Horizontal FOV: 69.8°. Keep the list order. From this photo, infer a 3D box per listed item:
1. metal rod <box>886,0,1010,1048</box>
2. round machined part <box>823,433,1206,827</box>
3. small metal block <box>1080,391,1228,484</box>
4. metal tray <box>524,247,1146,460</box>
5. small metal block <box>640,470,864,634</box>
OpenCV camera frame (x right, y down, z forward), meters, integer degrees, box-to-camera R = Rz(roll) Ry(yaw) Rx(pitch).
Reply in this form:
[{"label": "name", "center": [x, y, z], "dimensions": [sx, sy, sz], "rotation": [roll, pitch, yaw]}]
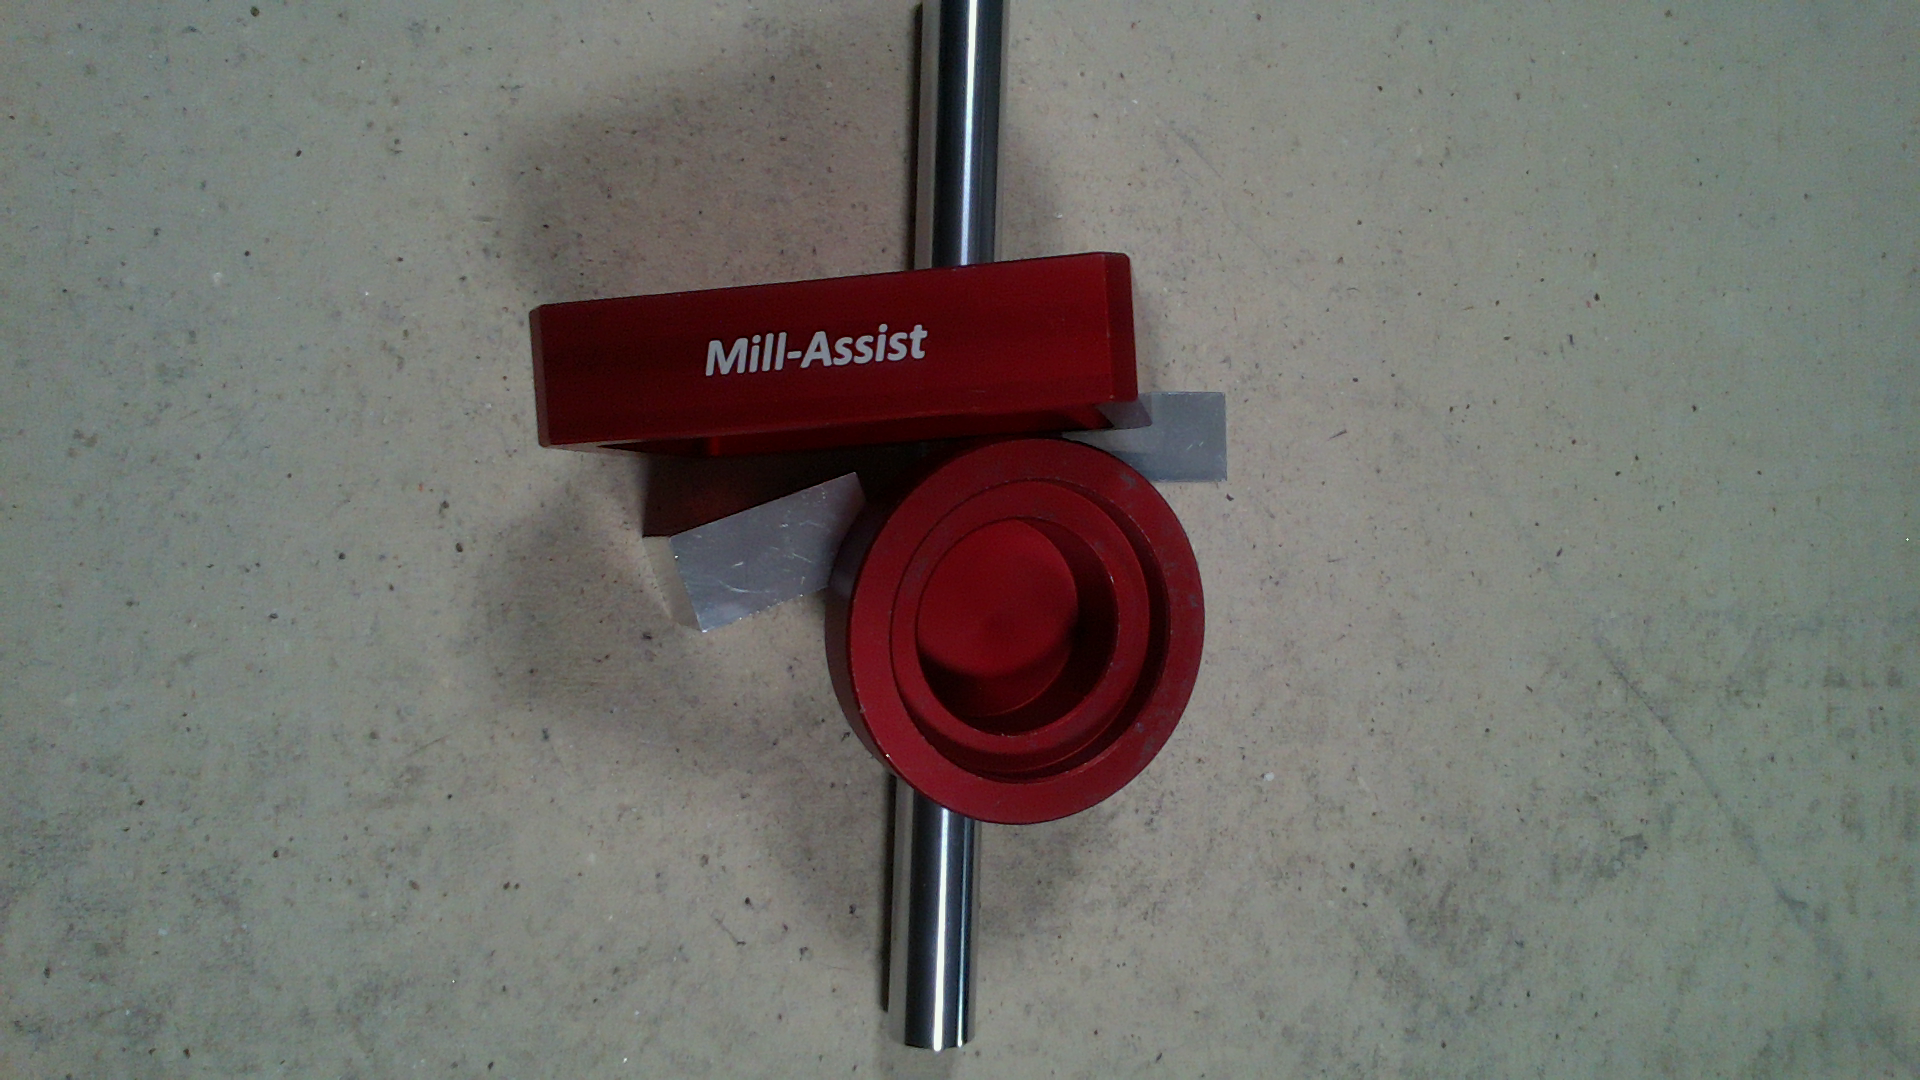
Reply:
[{"label": "metal rod", "center": [-0.003, -0.010, 0.392], "dimensions": [0.025, 0.025, 0.300], "rotation": [2, 89, -20]}, {"label": "round machined part", "center": [0.011, 0.021, 0.359], "dimensions": [0.098, 0.042, 0.098], "rotation": [-1, 94, -22]}, {"label": "small metal block", "center": [0.042, -0.028, 0.395], "dimensions": [0.050, 0.050, 0.025], "rotation": [-2, 91, -20]}, {"label": "metal tray", "center": [-0.023, -0.040, 0.326], "dimensions": [0.130, 0.090, 0.030], "rotation": [-4, 90, 10]}, {"label": "small metal block", "center": [-0.053, 0.003, 0.361], "dimensions": [0.050, 0.050, 0.025], "rotation": [-20, 97, -19]}]
